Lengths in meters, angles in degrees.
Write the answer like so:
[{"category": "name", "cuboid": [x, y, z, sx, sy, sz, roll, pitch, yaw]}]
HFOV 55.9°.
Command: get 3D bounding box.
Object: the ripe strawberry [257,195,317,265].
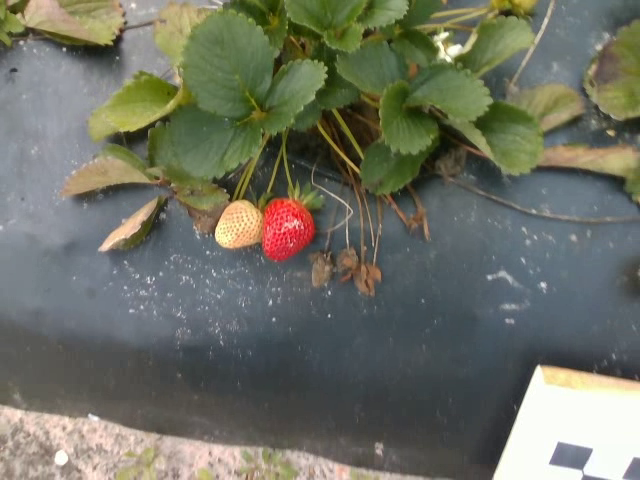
[{"category": "ripe strawberry", "cuboid": [-0.021, -0.005, 0.339, 0.034, 0.042, 0.033, 39, -33, -9]}]
